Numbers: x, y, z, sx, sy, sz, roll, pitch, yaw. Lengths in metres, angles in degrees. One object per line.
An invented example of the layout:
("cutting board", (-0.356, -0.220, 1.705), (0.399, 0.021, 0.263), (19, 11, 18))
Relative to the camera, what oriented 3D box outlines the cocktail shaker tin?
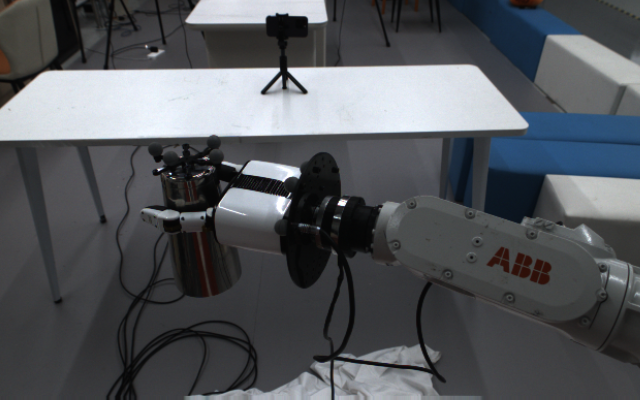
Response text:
("cocktail shaker tin", (-0.154, 0.029, 0.629), (0.093, 0.170, 0.093), (-1, 33, 1))
